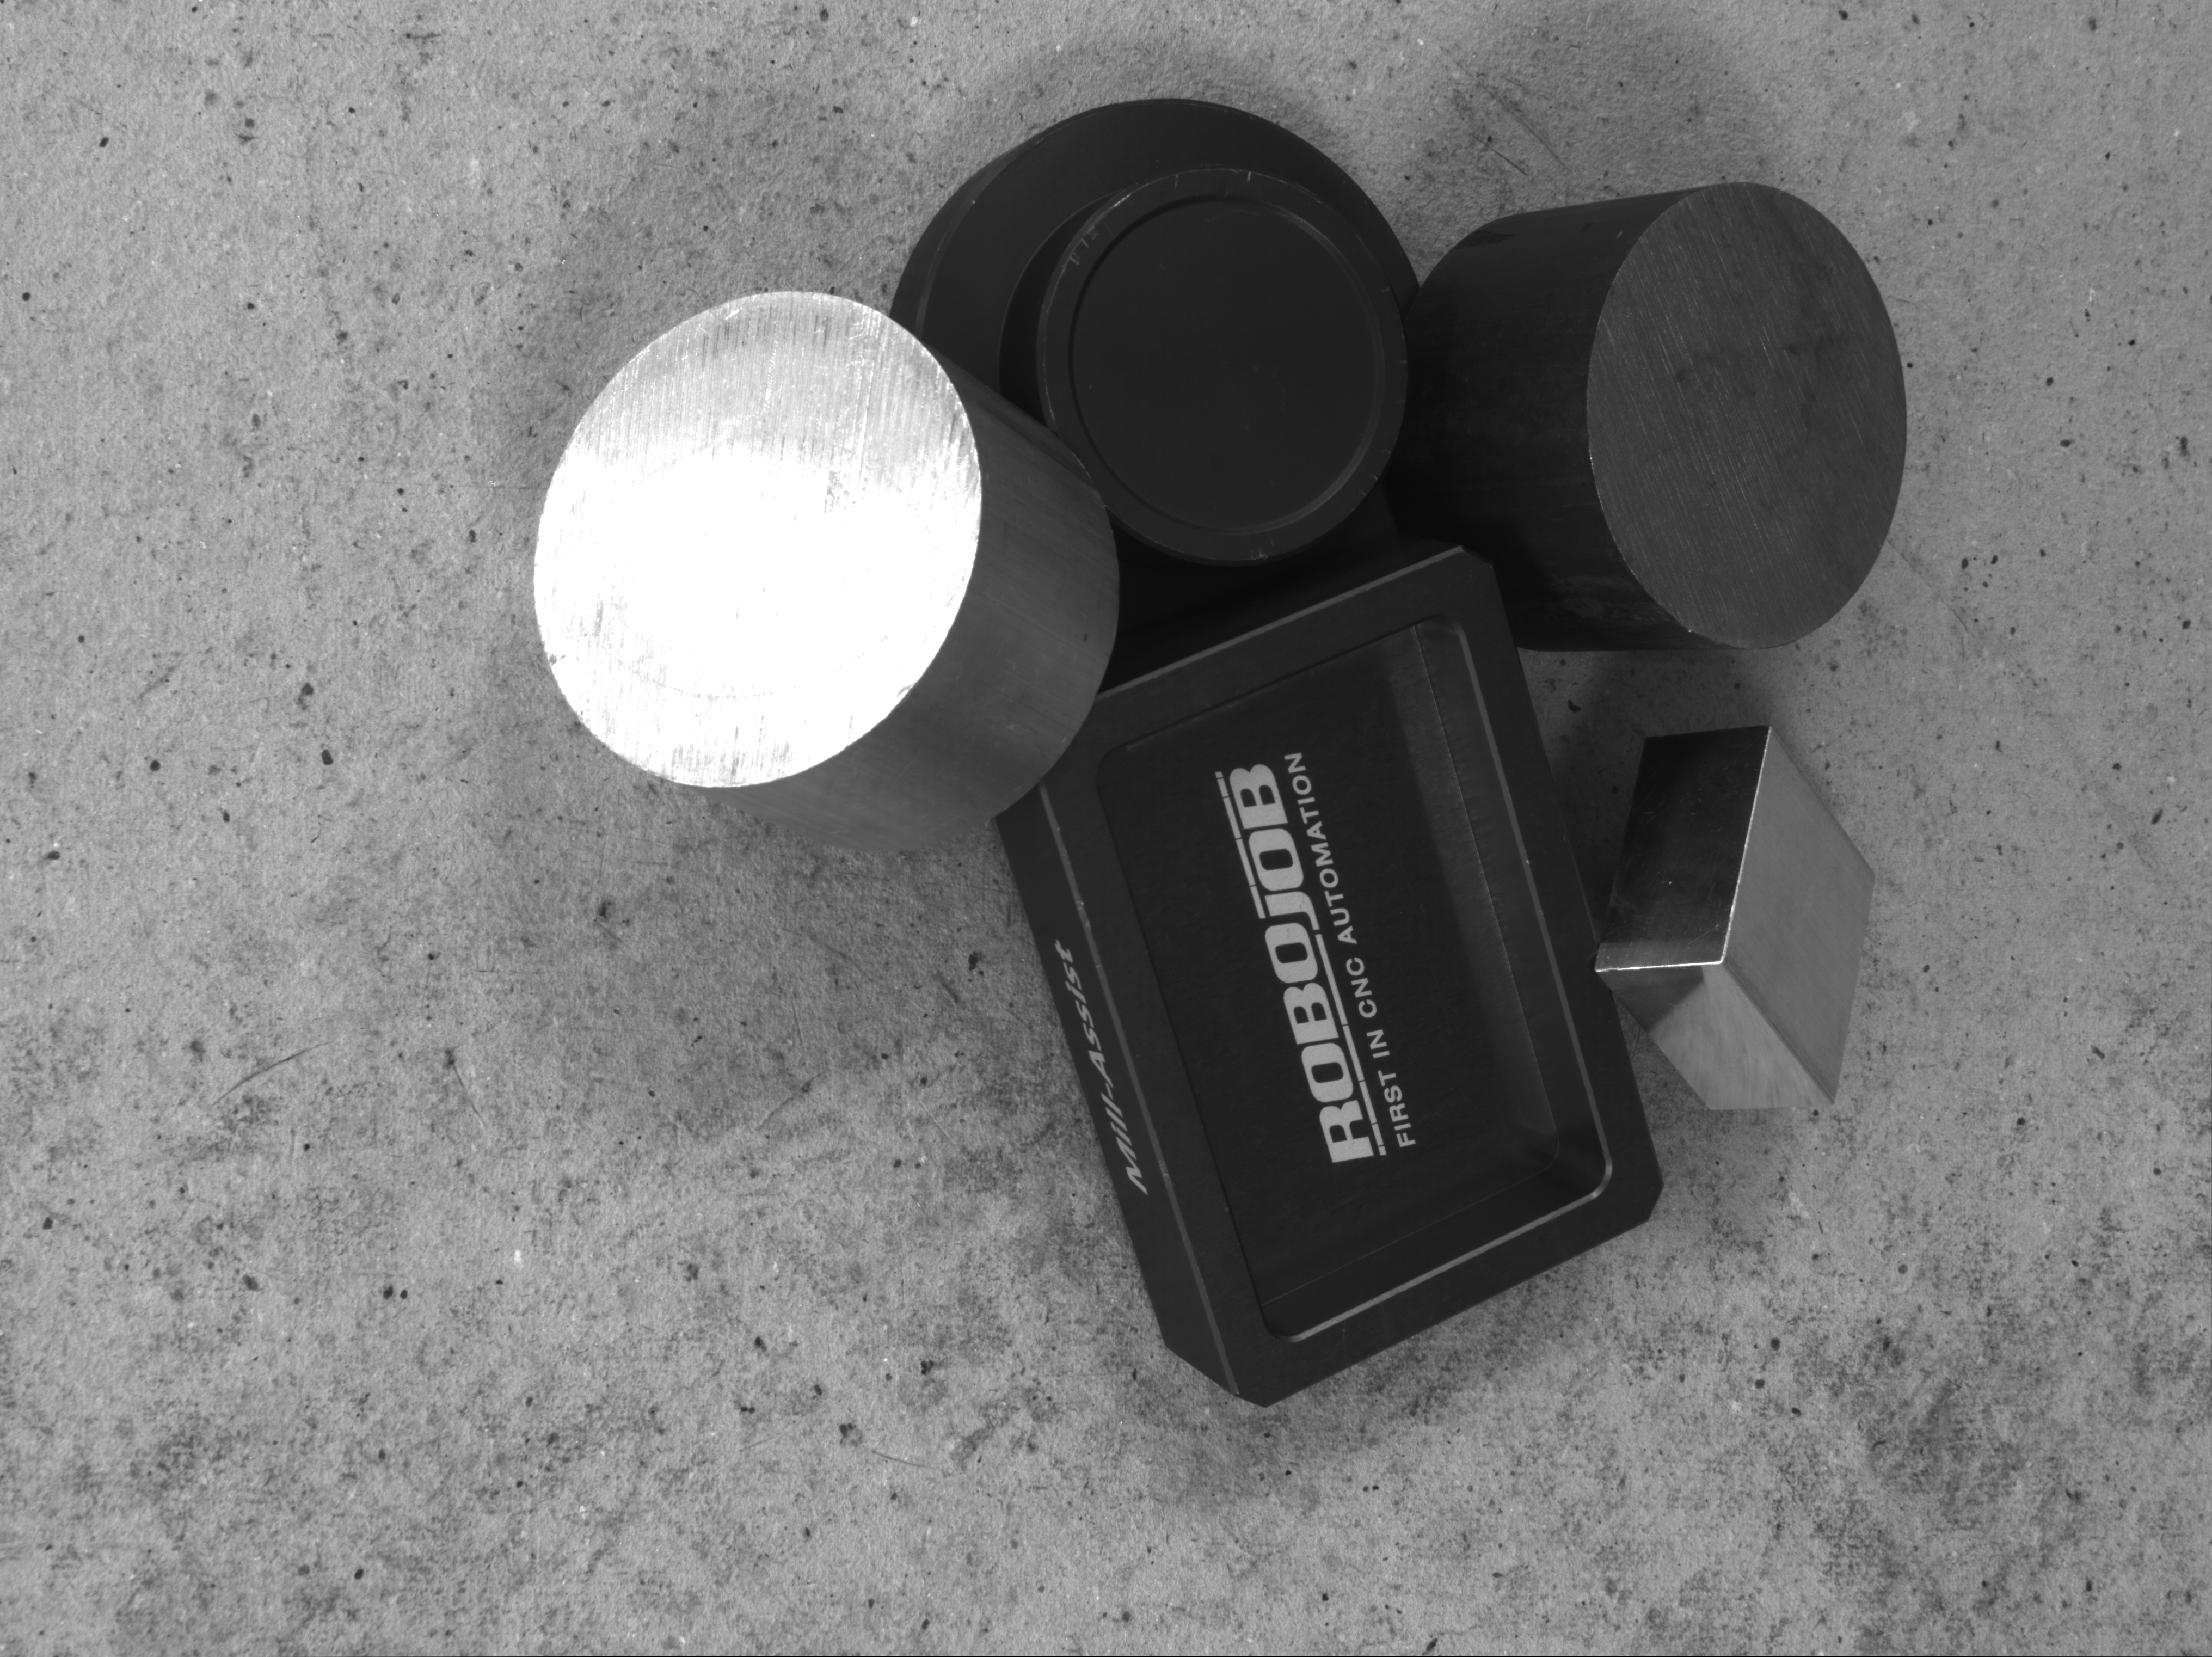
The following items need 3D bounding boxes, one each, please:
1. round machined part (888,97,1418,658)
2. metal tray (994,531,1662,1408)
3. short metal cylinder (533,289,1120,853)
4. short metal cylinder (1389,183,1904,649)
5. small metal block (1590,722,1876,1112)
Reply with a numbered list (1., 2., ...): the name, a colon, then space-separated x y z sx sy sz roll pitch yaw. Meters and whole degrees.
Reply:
1. round machined part: 0.013 -0.079 0.640 0.098 0.042 0.098 0 90 -20
2. metal tray: 0.038 0.024 0.643 0.090 0.030 0.130 -23 107 -18
3. short metal cylinder: -0.045 -0.040 0.591 0.050 0.080 0.080 26 78 -62
4. short metal cylinder: 0.096 -0.072 0.654 0.080 0.050 0.080 -2 93 -37
5. small metal block: 0.115 0.017 0.666 0.050 0.025 0.050 47 49 -41
